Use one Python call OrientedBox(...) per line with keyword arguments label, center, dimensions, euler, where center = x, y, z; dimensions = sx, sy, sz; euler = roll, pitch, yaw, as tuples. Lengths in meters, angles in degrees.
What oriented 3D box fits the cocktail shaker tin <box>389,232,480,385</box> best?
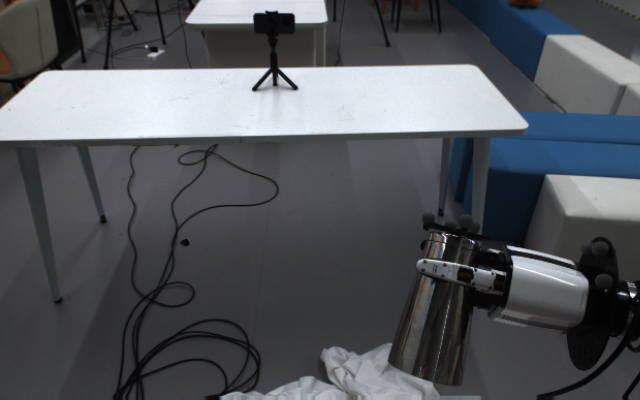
OrientedBox(label="cocktail shaker tin", center=(0.152, 0.127, 0.608), dimensions=(0.093, 0.170, 0.093), euler=(14, -5, 1))
